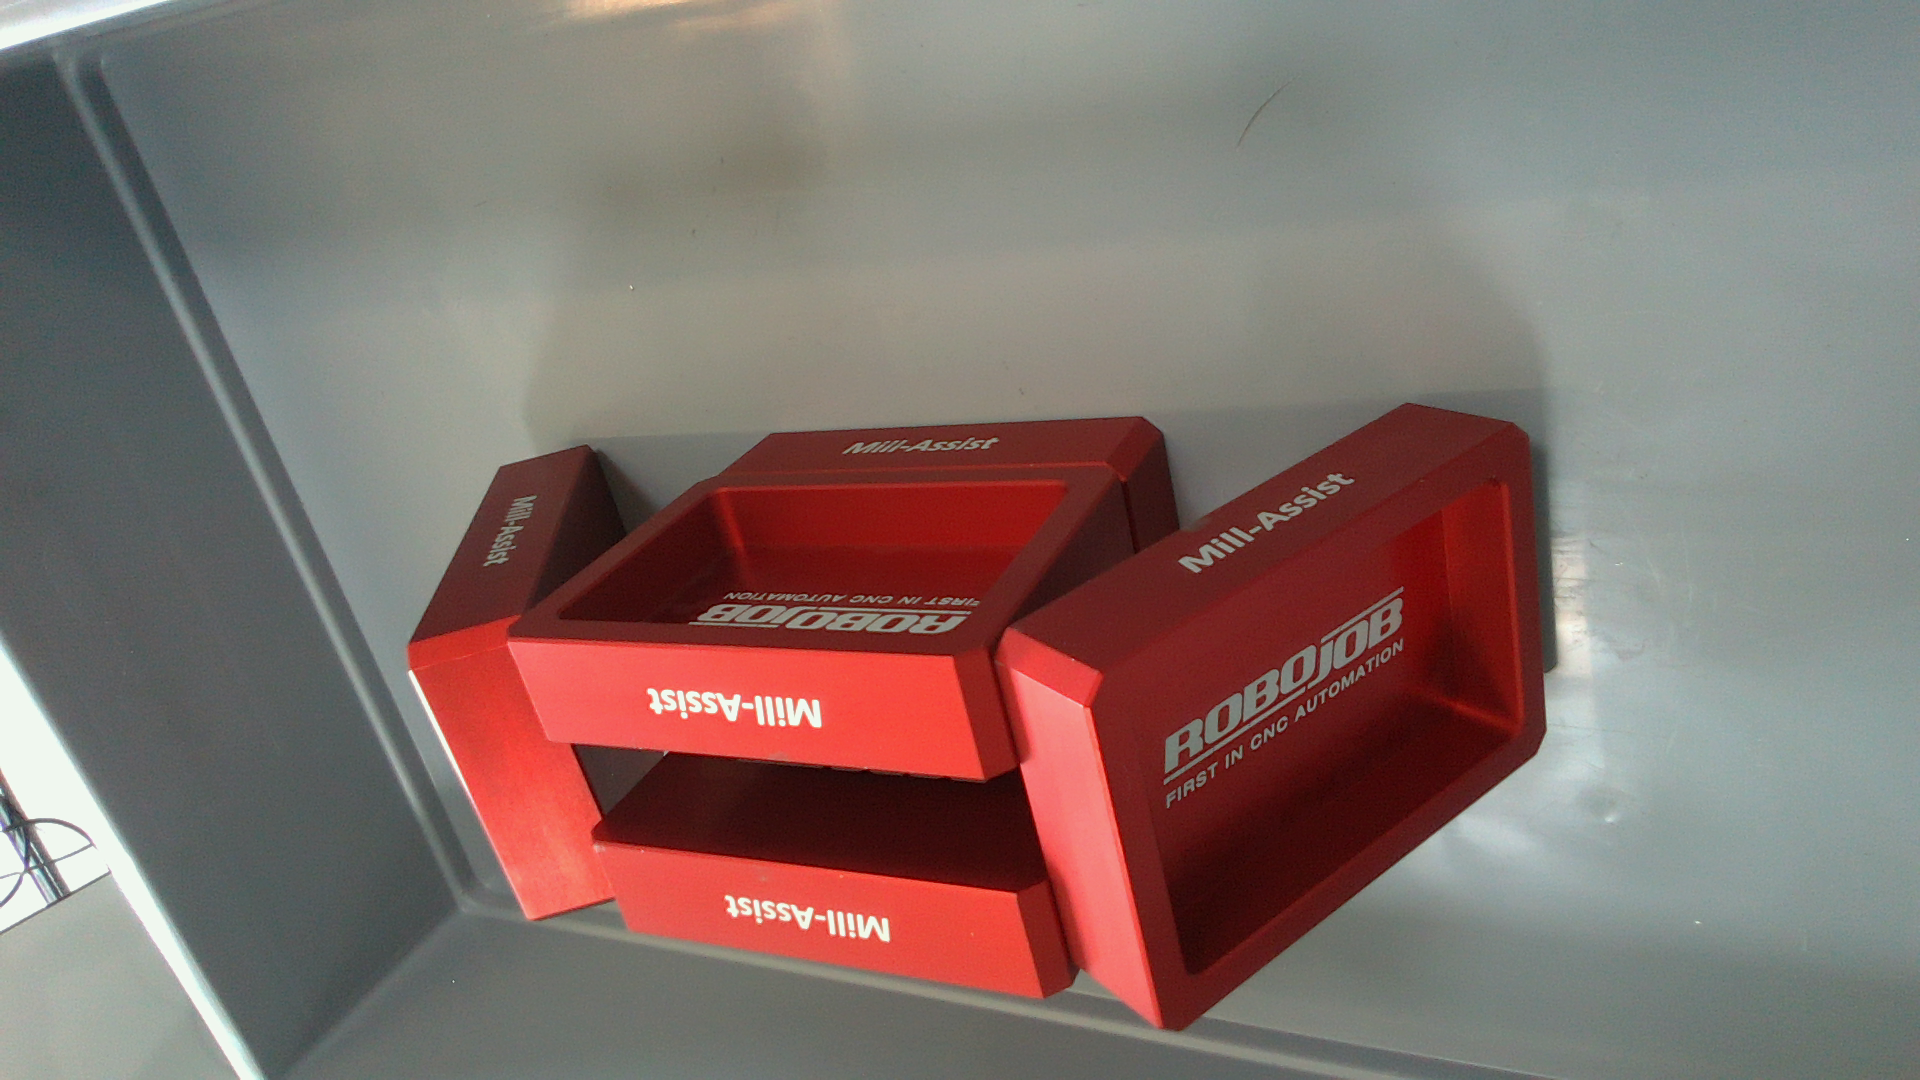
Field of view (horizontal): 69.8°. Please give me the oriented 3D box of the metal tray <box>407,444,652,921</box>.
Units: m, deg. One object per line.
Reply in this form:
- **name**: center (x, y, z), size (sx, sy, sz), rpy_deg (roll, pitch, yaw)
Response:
- **metal tray**: center (-0.119, 0.037, 0.412), size (0.030, 0.130, 0.090), rpy_deg (-15, 116, 0)

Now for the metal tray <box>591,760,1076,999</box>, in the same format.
- **metal tray**: center (-0.019, 0.069, 0.363), size (0.130, 0.090, 0.030), rpy_deg (0, 118, 28)

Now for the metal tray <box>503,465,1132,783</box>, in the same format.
- **metal tray**: center (-0.033, 0.015, 0.337), size (0.130, 0.090, 0.030), rpy_deg (0, 118, 28)

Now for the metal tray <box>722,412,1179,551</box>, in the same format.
- **metal tray**: center (-0.001, 0.013, 0.397), size (0.130, 0.030, 0.090), rpy_deg (-1, 118, 28)

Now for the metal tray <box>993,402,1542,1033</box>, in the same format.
- **metal tray**: center (0.075, 0.035, 0.306), size (0.030, 0.130, 0.090), rpy_deg (23, 134, 52)
